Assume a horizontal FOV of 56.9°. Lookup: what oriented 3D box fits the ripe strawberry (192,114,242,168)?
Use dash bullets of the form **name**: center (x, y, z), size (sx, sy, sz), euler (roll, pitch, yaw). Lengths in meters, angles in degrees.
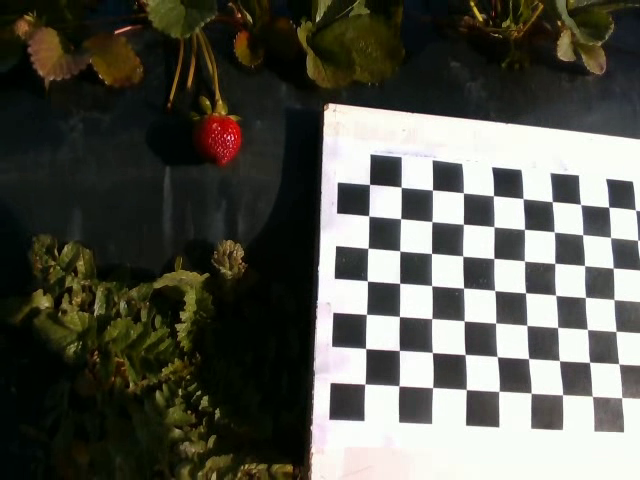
- **ripe strawberry**: center (-0.070, -0.066, 0.399), size (0.040, 0.044, 0.037), euler (-15, -22, -12)
